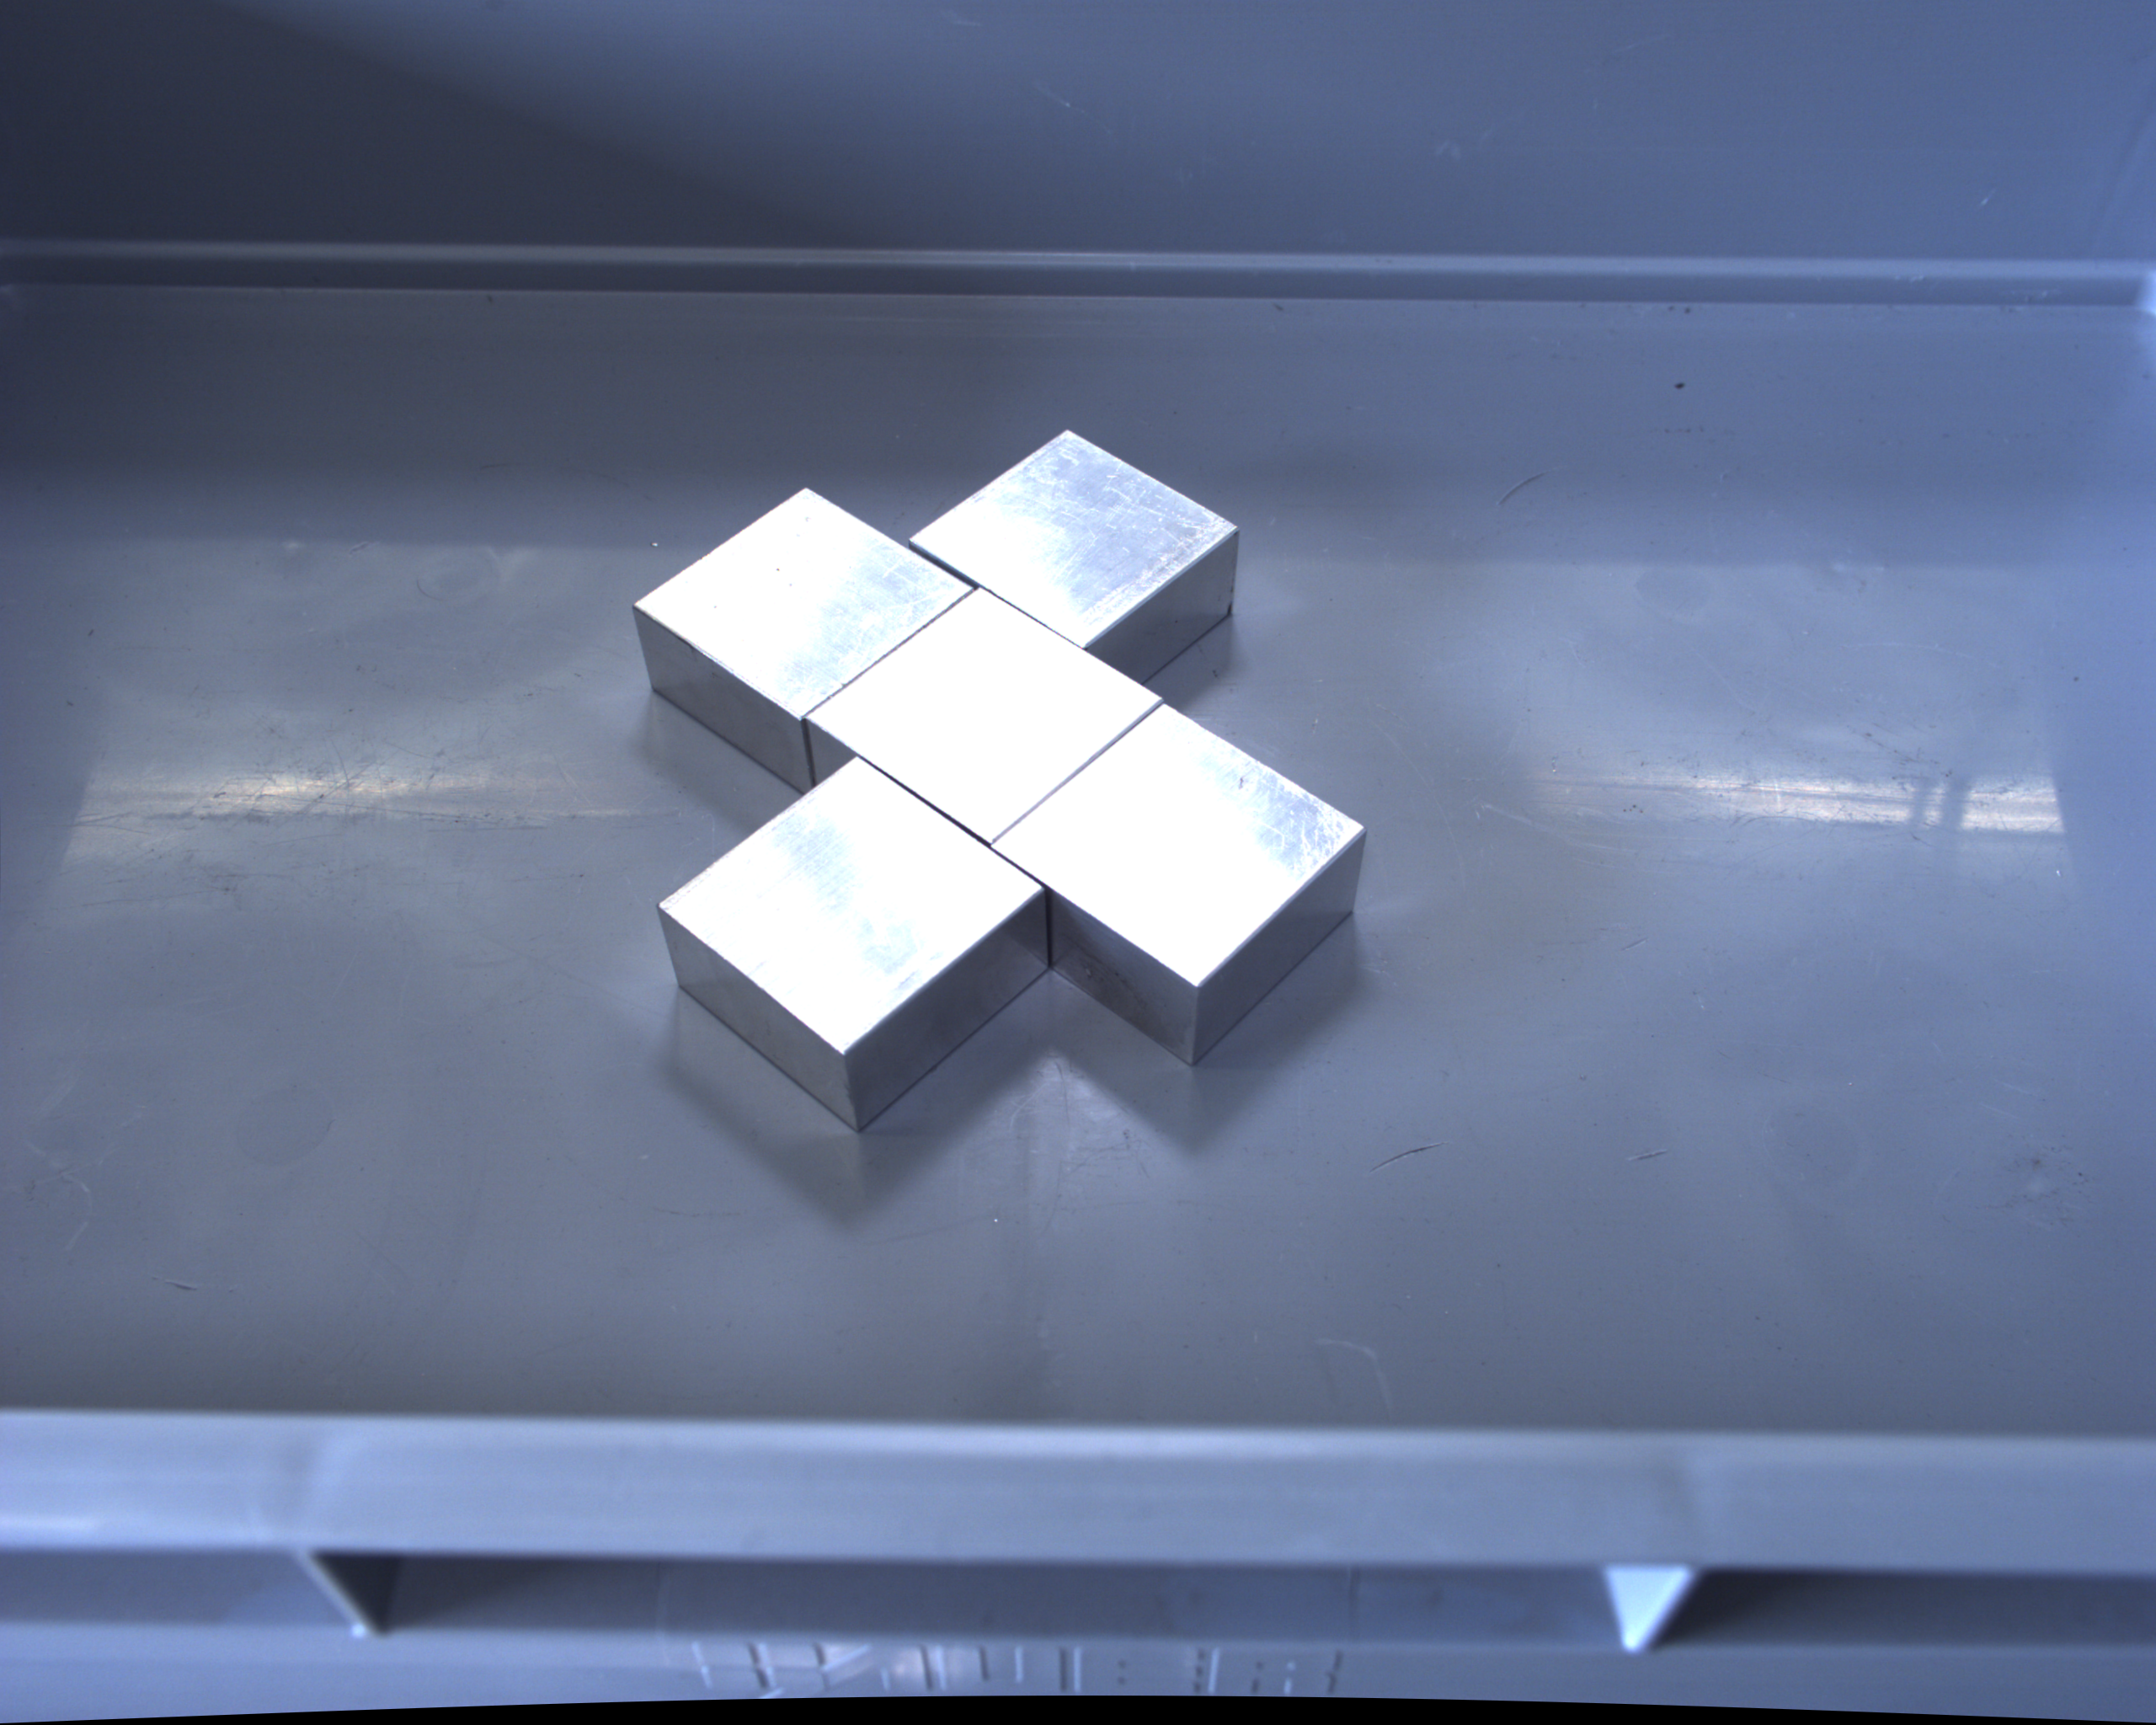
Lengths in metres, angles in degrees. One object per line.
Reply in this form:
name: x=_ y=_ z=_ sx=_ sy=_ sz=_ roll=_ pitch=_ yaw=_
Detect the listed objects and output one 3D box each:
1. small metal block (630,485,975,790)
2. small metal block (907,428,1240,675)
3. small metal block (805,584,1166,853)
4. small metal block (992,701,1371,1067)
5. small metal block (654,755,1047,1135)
small metal block: x=-0.057 y=-0.047 z=0.442 sx=0.050 sy=0.025 sz=0.050 roll=34 pitch=58 yaw=25
small metal block: x=-0.001 y=-0.063 z=0.455 sx=0.050 sy=0.025 sz=0.050 roll=34 pitch=57 yaw=25
small metal block: x=-0.018 y=-0.023 z=0.420 sx=0.050 sy=0.025 sz=0.050 roll=34 pitch=58 yaw=25
small metal block: x=0.020 y=0.003 z=0.400 sx=0.050 sy=0.025 sz=0.050 roll=34 pitch=58 yaw=25
small metal block: x=-0.042 y=0.014 z=0.391 sx=0.050 sy=0.025 sz=0.050 roll=35 pitch=59 yaw=26
